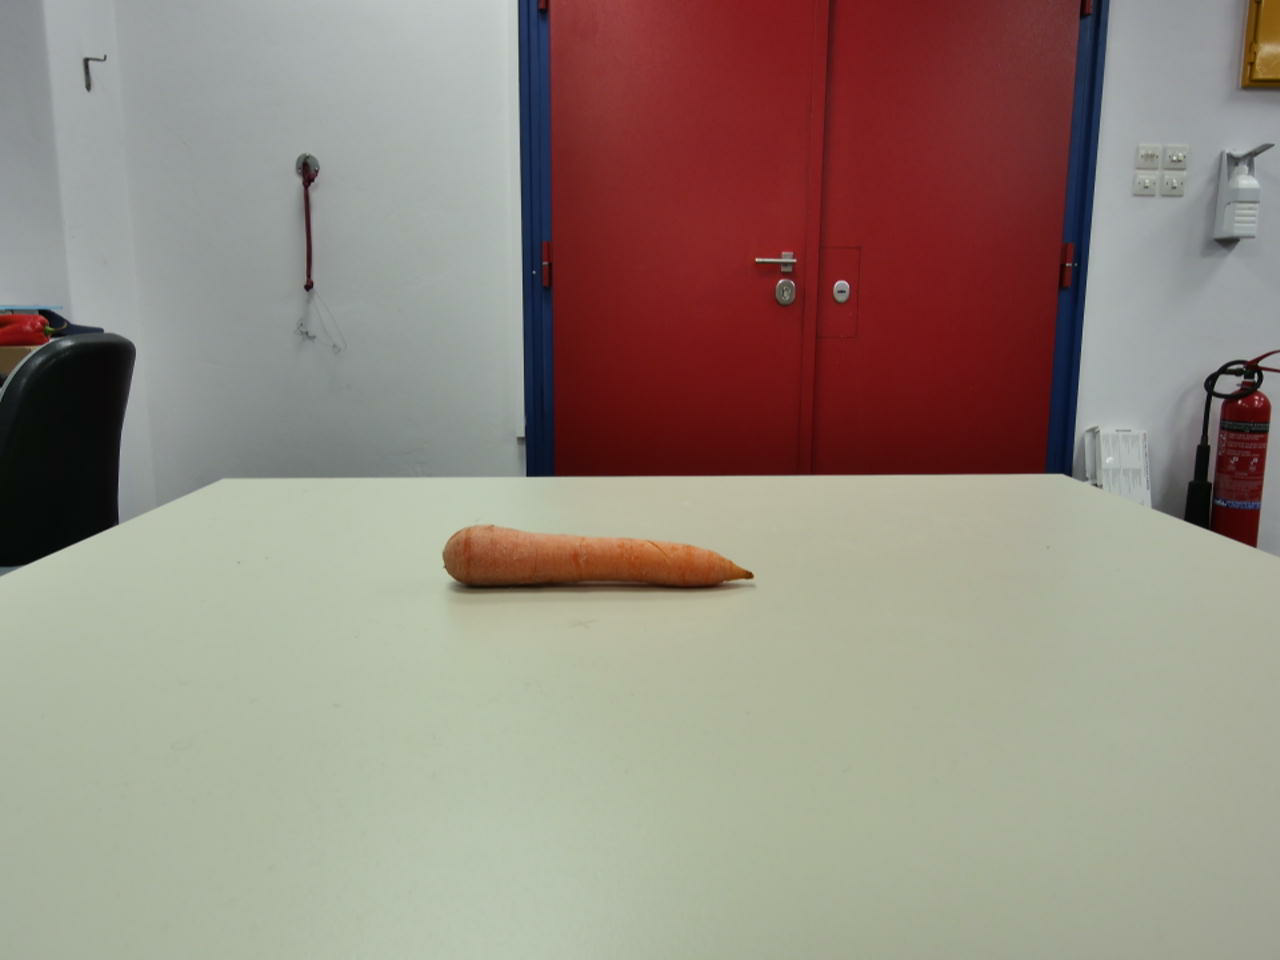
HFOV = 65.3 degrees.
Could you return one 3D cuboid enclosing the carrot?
[{"bbox_3d":[-0.026,0.048,0.629,0.196,0.041,0.039,0,8,-1],"label":"carrot"}]
